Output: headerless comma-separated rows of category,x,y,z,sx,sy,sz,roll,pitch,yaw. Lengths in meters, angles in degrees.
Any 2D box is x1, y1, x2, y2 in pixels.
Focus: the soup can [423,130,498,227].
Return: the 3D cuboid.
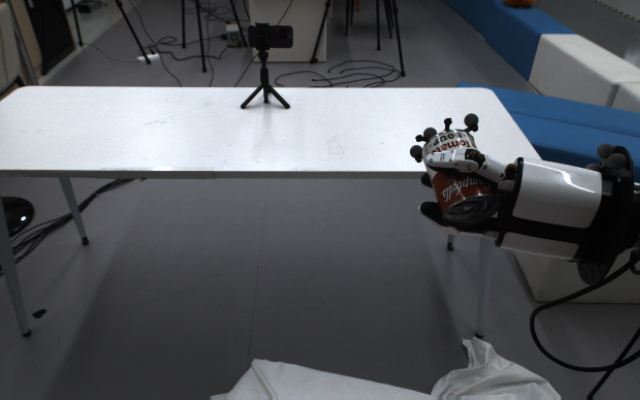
soup can,0.171,-0.029,0.593,0.067,0.067,0.101,-5,57,-10
